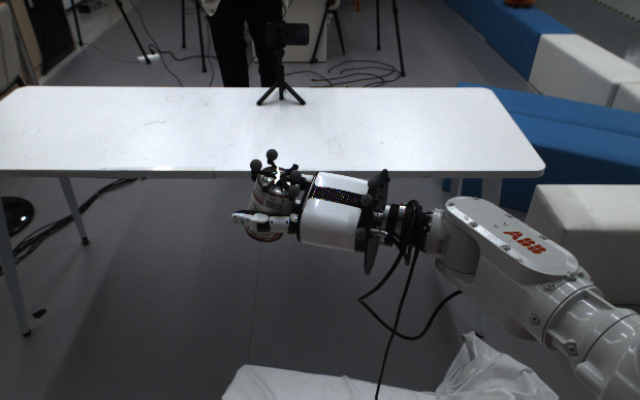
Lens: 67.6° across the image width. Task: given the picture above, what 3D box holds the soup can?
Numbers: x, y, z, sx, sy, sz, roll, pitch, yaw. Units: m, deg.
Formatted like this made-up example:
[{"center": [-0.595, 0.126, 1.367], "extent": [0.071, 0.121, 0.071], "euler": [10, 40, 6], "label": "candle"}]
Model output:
[{"center": [-0.075, 0.008, 0.745], "extent": [0.067, 0.101, 0.067], "euler": [14, 40, -12], "label": "soup can"}]
